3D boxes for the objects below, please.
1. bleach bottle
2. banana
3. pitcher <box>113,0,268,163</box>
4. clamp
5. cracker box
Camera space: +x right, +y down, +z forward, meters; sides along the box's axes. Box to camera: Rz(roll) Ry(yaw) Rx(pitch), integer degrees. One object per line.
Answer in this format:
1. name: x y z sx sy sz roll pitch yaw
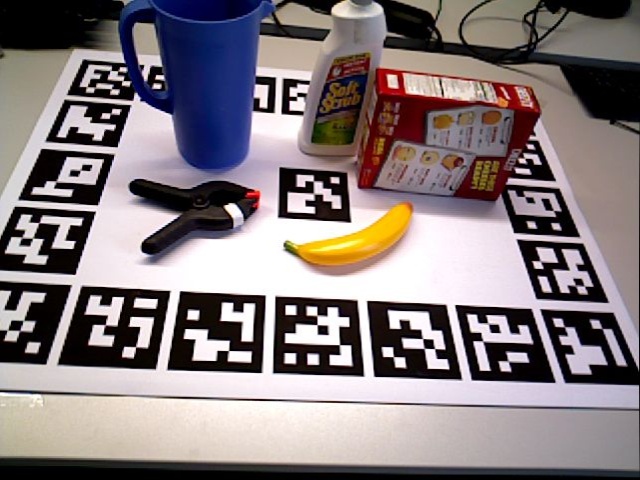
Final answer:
1. bleach bottle: 0.023 -0.225 0.754 0.102 0.257 0.067 4 48 -6
2. banana: 0.055 0.000 0.717 0.193 0.040 0.074 -24 56 -26
3. pitcher: -0.159 -0.222 0.697 0.186 0.248 0.132 -9 50 -20
4. clamp: -0.162 -0.039 0.707 0.163 0.037 0.120 -8 49 -18
5. cracker box: 0.173 -0.139 0.740 0.212 0.168 0.071 5 46 -3
